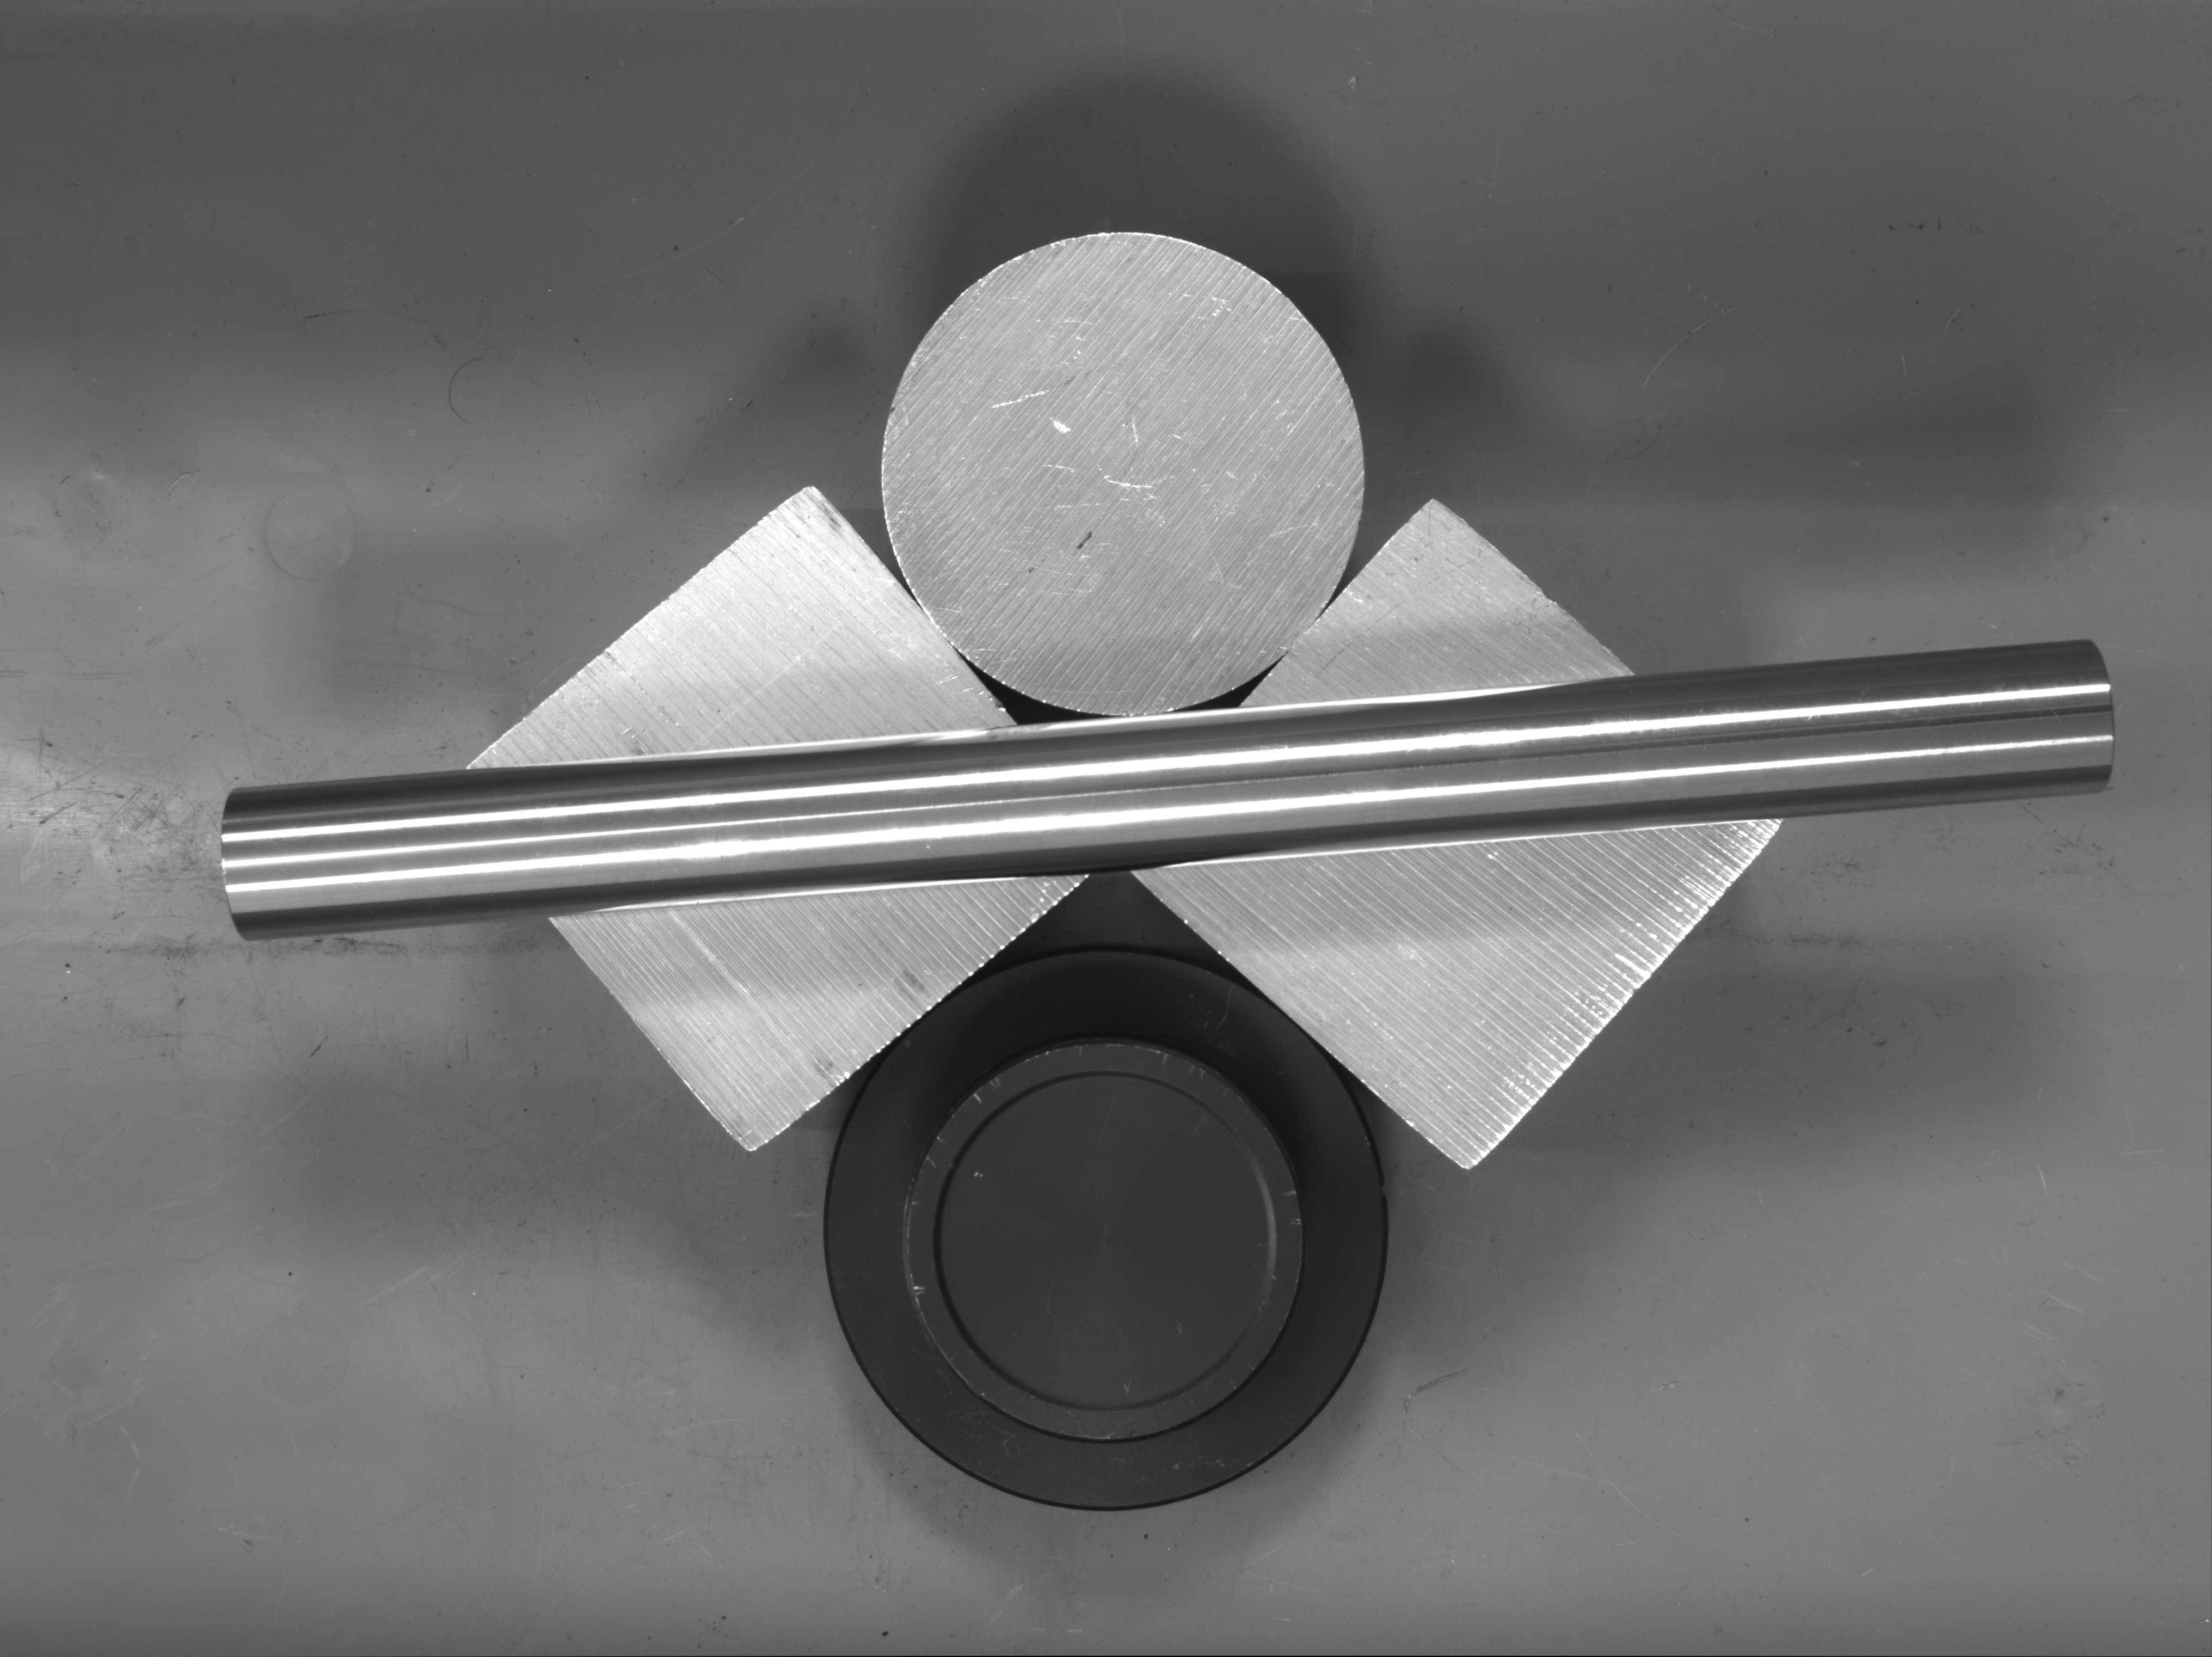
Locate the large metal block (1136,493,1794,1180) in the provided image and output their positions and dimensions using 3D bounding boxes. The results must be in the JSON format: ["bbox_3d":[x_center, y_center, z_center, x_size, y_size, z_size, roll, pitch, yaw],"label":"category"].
[{"bbox_3d":[0.058,0.001,0.630,0.080,0.050,0.080,42,91,0],"label":"large metal block"}]

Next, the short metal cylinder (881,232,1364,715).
[{"bbox_3d":[0.003,-0.059,0.632,0.080,0.050,0.080,0,90,0],"label":"short metal cylinder"}]

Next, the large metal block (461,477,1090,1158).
[{"bbox_3d":[-0.054,-0.002,0.632,0.080,0.050,0.080,-39,92,0],"label":"large metal block"}]

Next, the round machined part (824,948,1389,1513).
[{"bbox_3d":[0.000,0.070,0.636,0.098,0.042,0.098,0,90,0],"label":"round machined part"}]

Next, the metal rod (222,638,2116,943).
[{"bbox_3d":[0.010,-0.006,0.593,0.300,0.025,0.025,-5,90,1],"label":"metal rod"}]
